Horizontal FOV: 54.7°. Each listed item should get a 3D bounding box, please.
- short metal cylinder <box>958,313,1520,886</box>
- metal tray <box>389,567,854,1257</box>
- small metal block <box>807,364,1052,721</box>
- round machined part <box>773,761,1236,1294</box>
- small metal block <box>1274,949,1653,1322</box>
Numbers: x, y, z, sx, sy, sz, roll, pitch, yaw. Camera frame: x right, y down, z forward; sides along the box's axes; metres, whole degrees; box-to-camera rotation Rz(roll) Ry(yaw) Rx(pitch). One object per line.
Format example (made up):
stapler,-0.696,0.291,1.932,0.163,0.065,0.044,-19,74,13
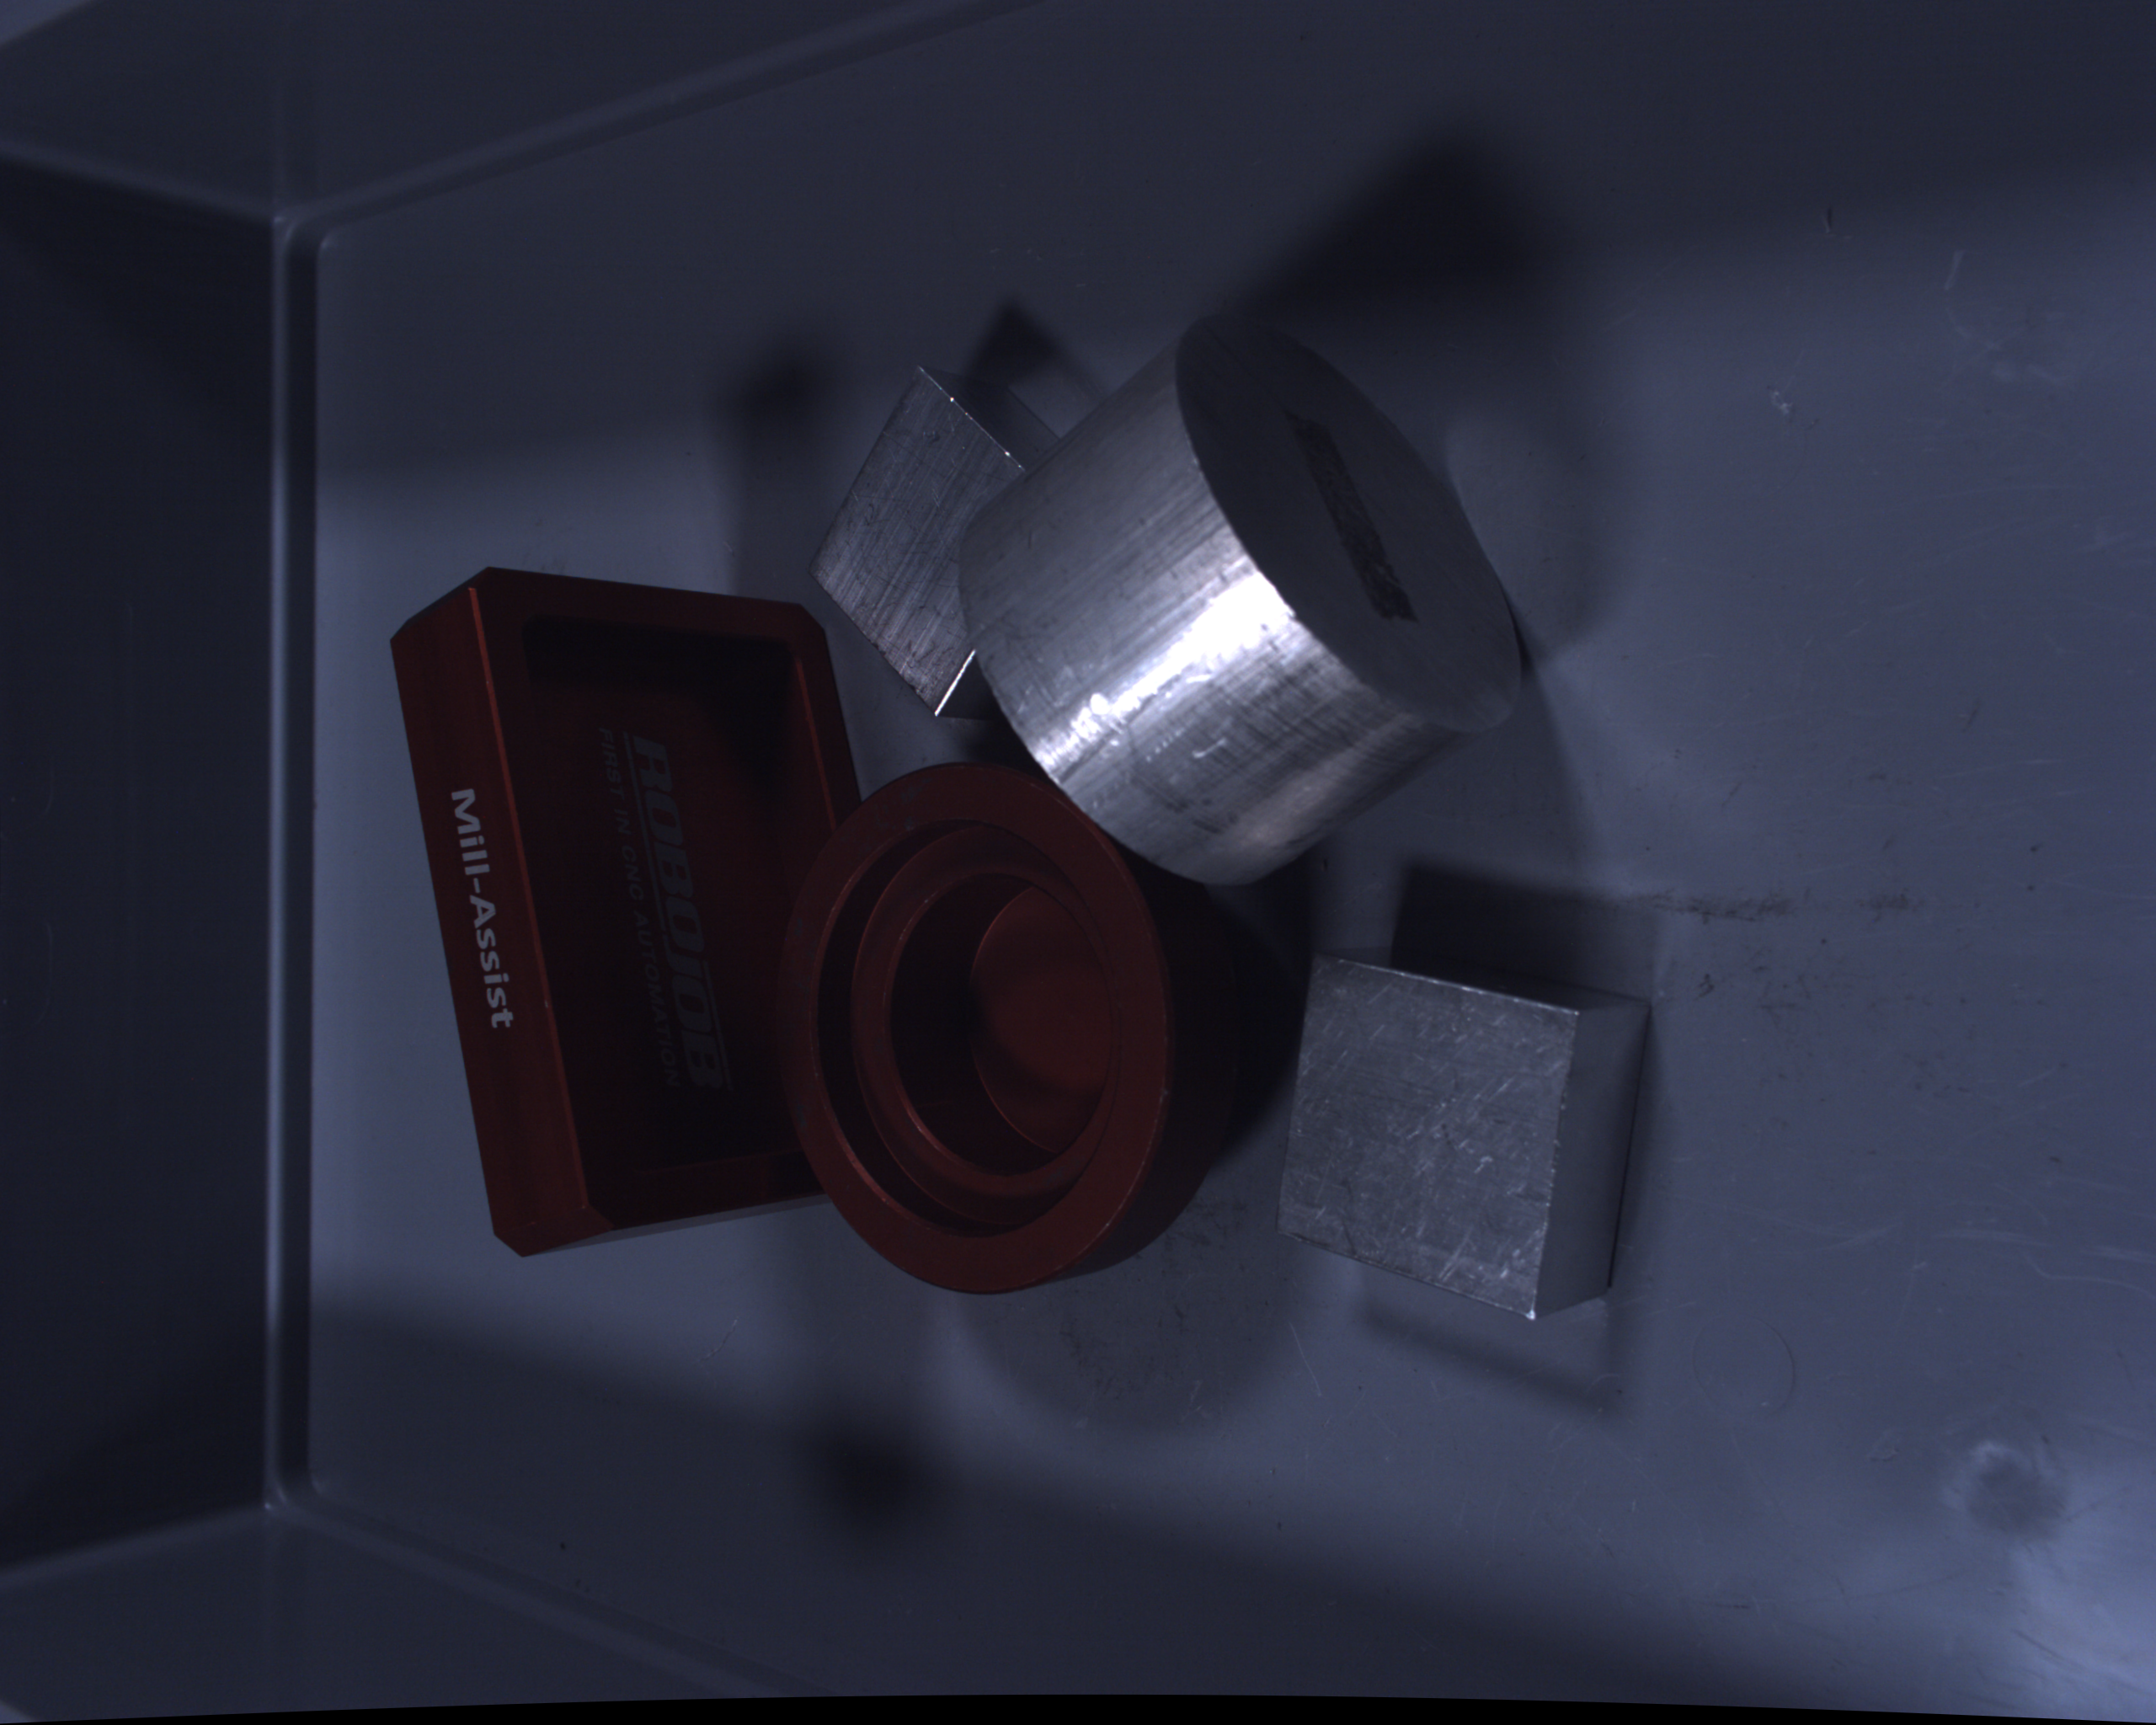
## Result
short metal cylinder,0.027,-0.043,0.345,0.050,0.081,0.080,-36,68,34
metal tray,-0.084,0.009,0.429,0.030,0.091,0.129,-22,76,38
small metal block,-0.021,-0.064,0.420,0.050,0.025,0.050,49,119,30
round machined part,-0.010,0.030,0.398,0.098,0.042,0.097,0,90,39
small metal block,0.064,0.044,0.350,0.050,0.025,0.050,12,97,40
